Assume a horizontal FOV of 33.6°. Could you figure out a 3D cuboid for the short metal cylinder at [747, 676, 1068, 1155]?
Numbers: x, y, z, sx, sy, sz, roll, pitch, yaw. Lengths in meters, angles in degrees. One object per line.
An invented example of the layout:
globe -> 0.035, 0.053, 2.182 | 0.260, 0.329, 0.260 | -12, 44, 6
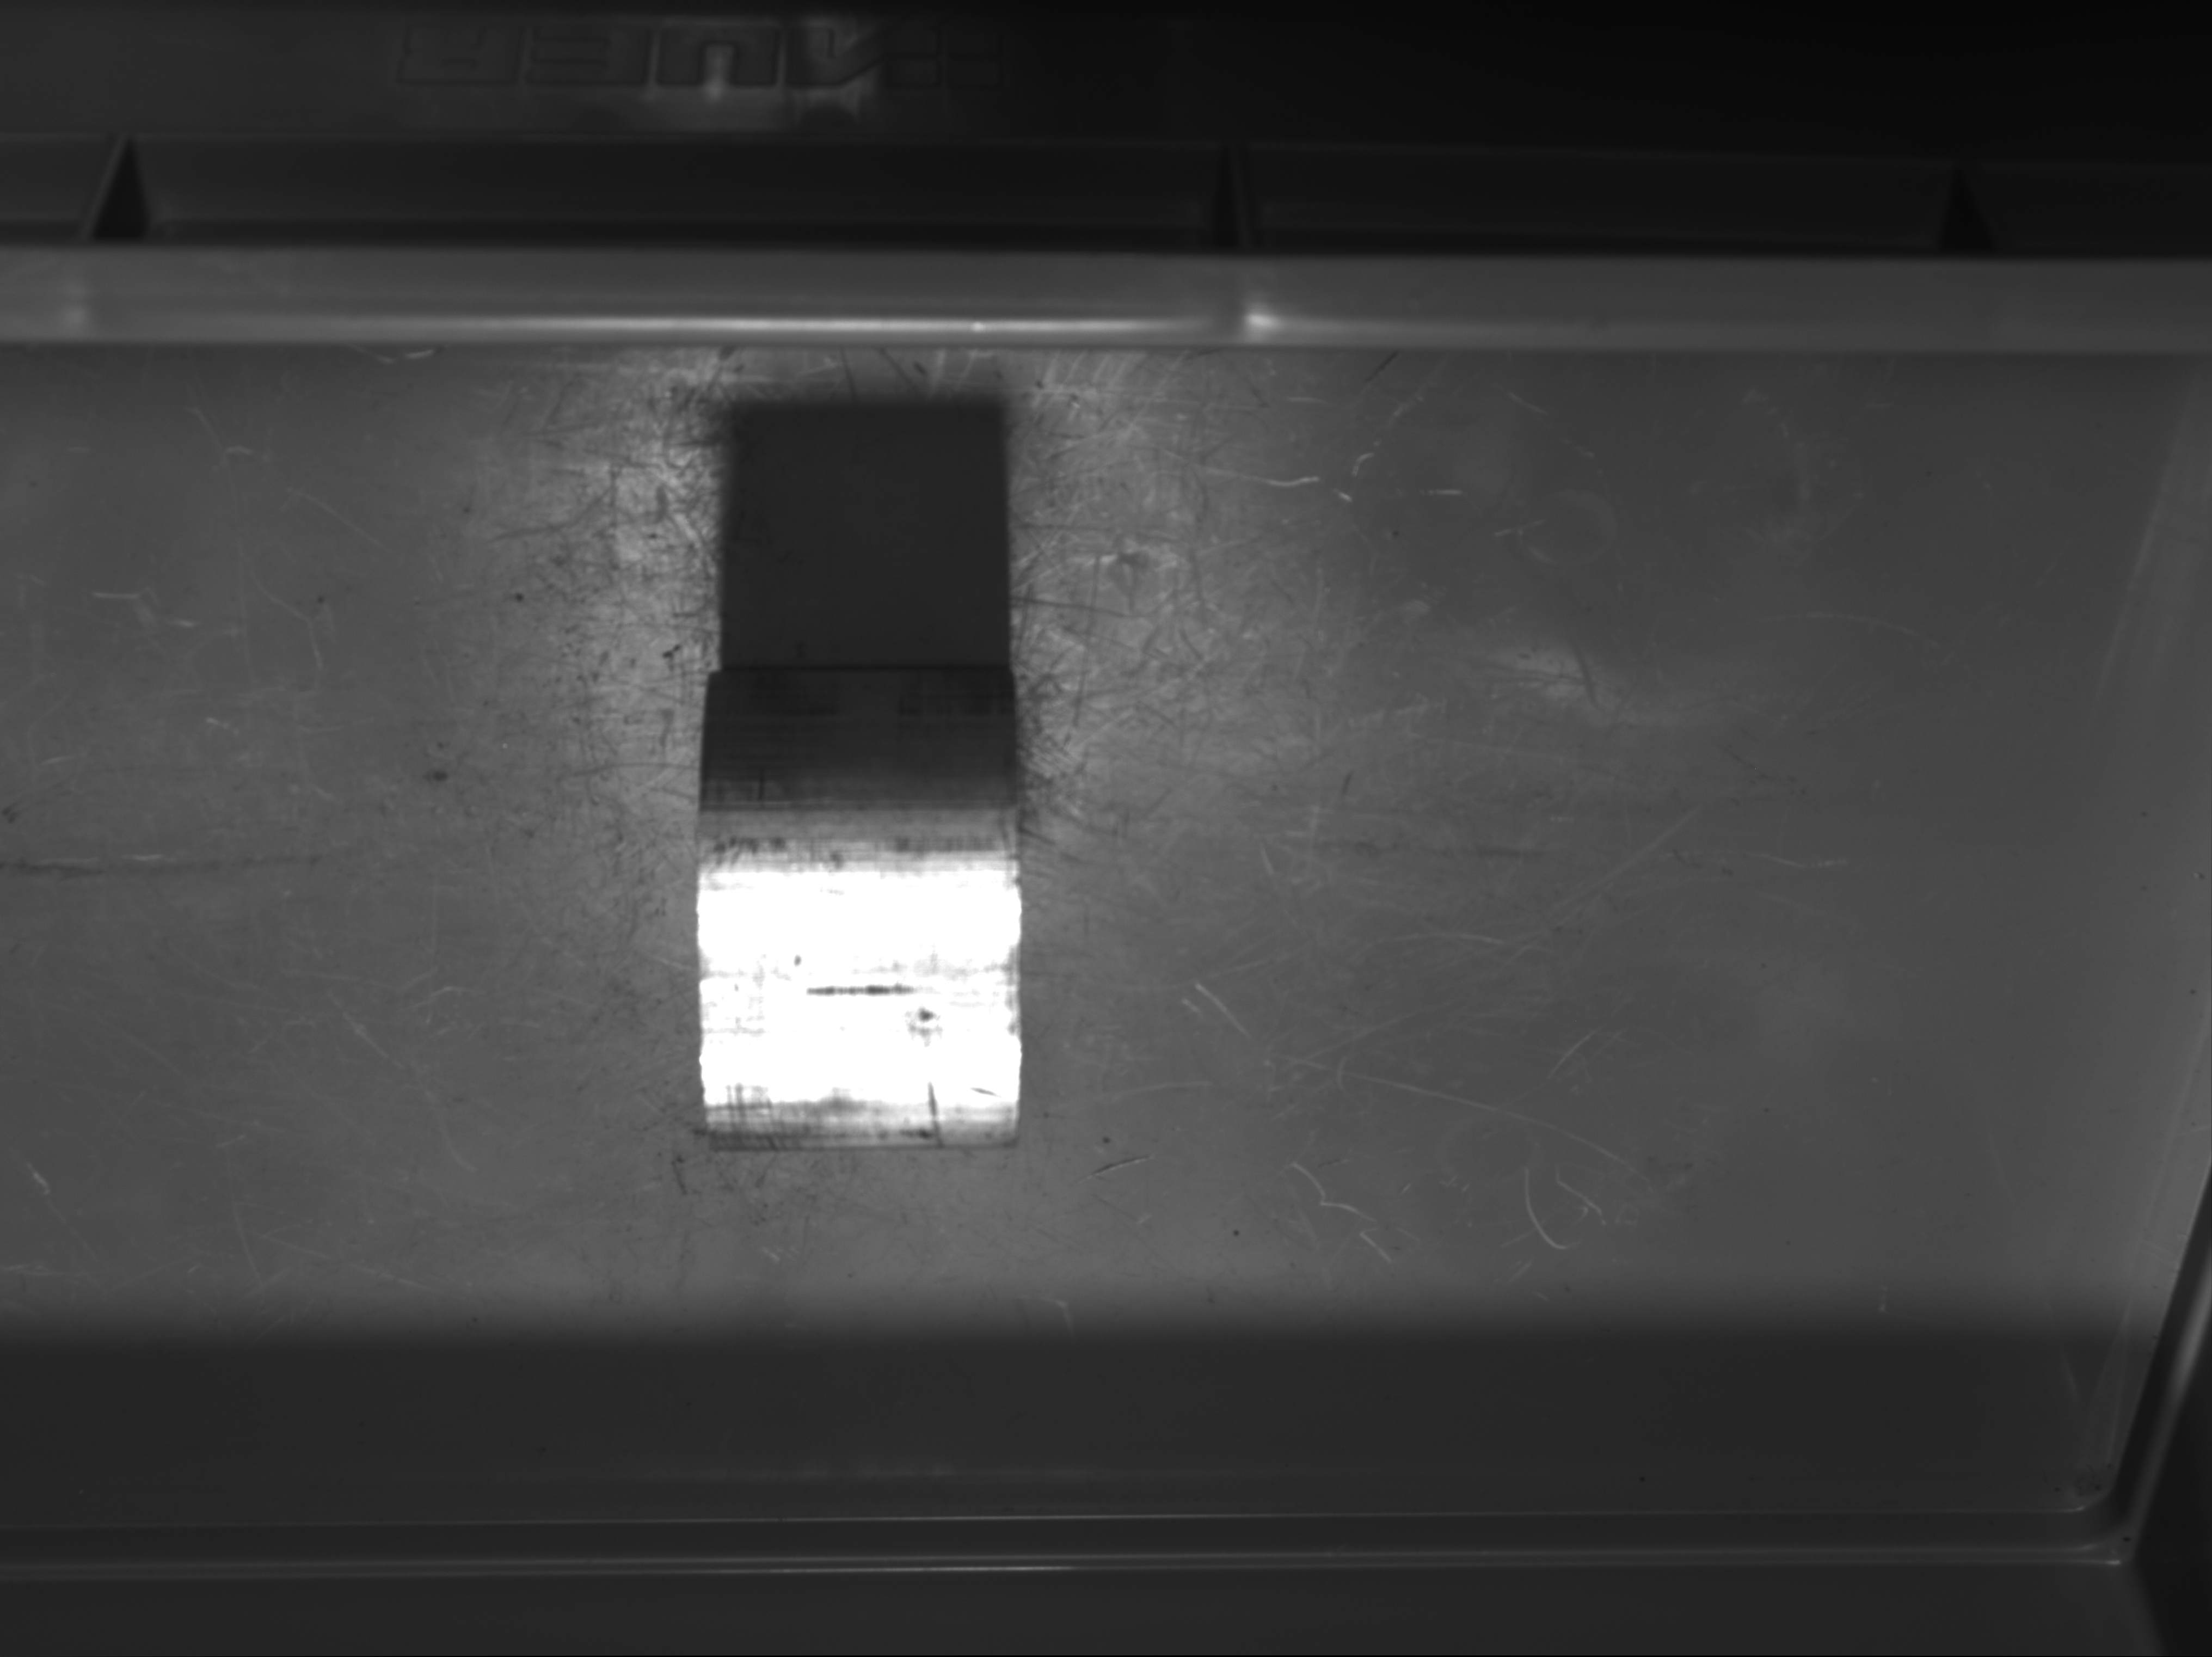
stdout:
short metal cylinder -> -0.032, 0.014, 0.611 | 0.050, 0.080, 0.080 | 0, 130, -2
